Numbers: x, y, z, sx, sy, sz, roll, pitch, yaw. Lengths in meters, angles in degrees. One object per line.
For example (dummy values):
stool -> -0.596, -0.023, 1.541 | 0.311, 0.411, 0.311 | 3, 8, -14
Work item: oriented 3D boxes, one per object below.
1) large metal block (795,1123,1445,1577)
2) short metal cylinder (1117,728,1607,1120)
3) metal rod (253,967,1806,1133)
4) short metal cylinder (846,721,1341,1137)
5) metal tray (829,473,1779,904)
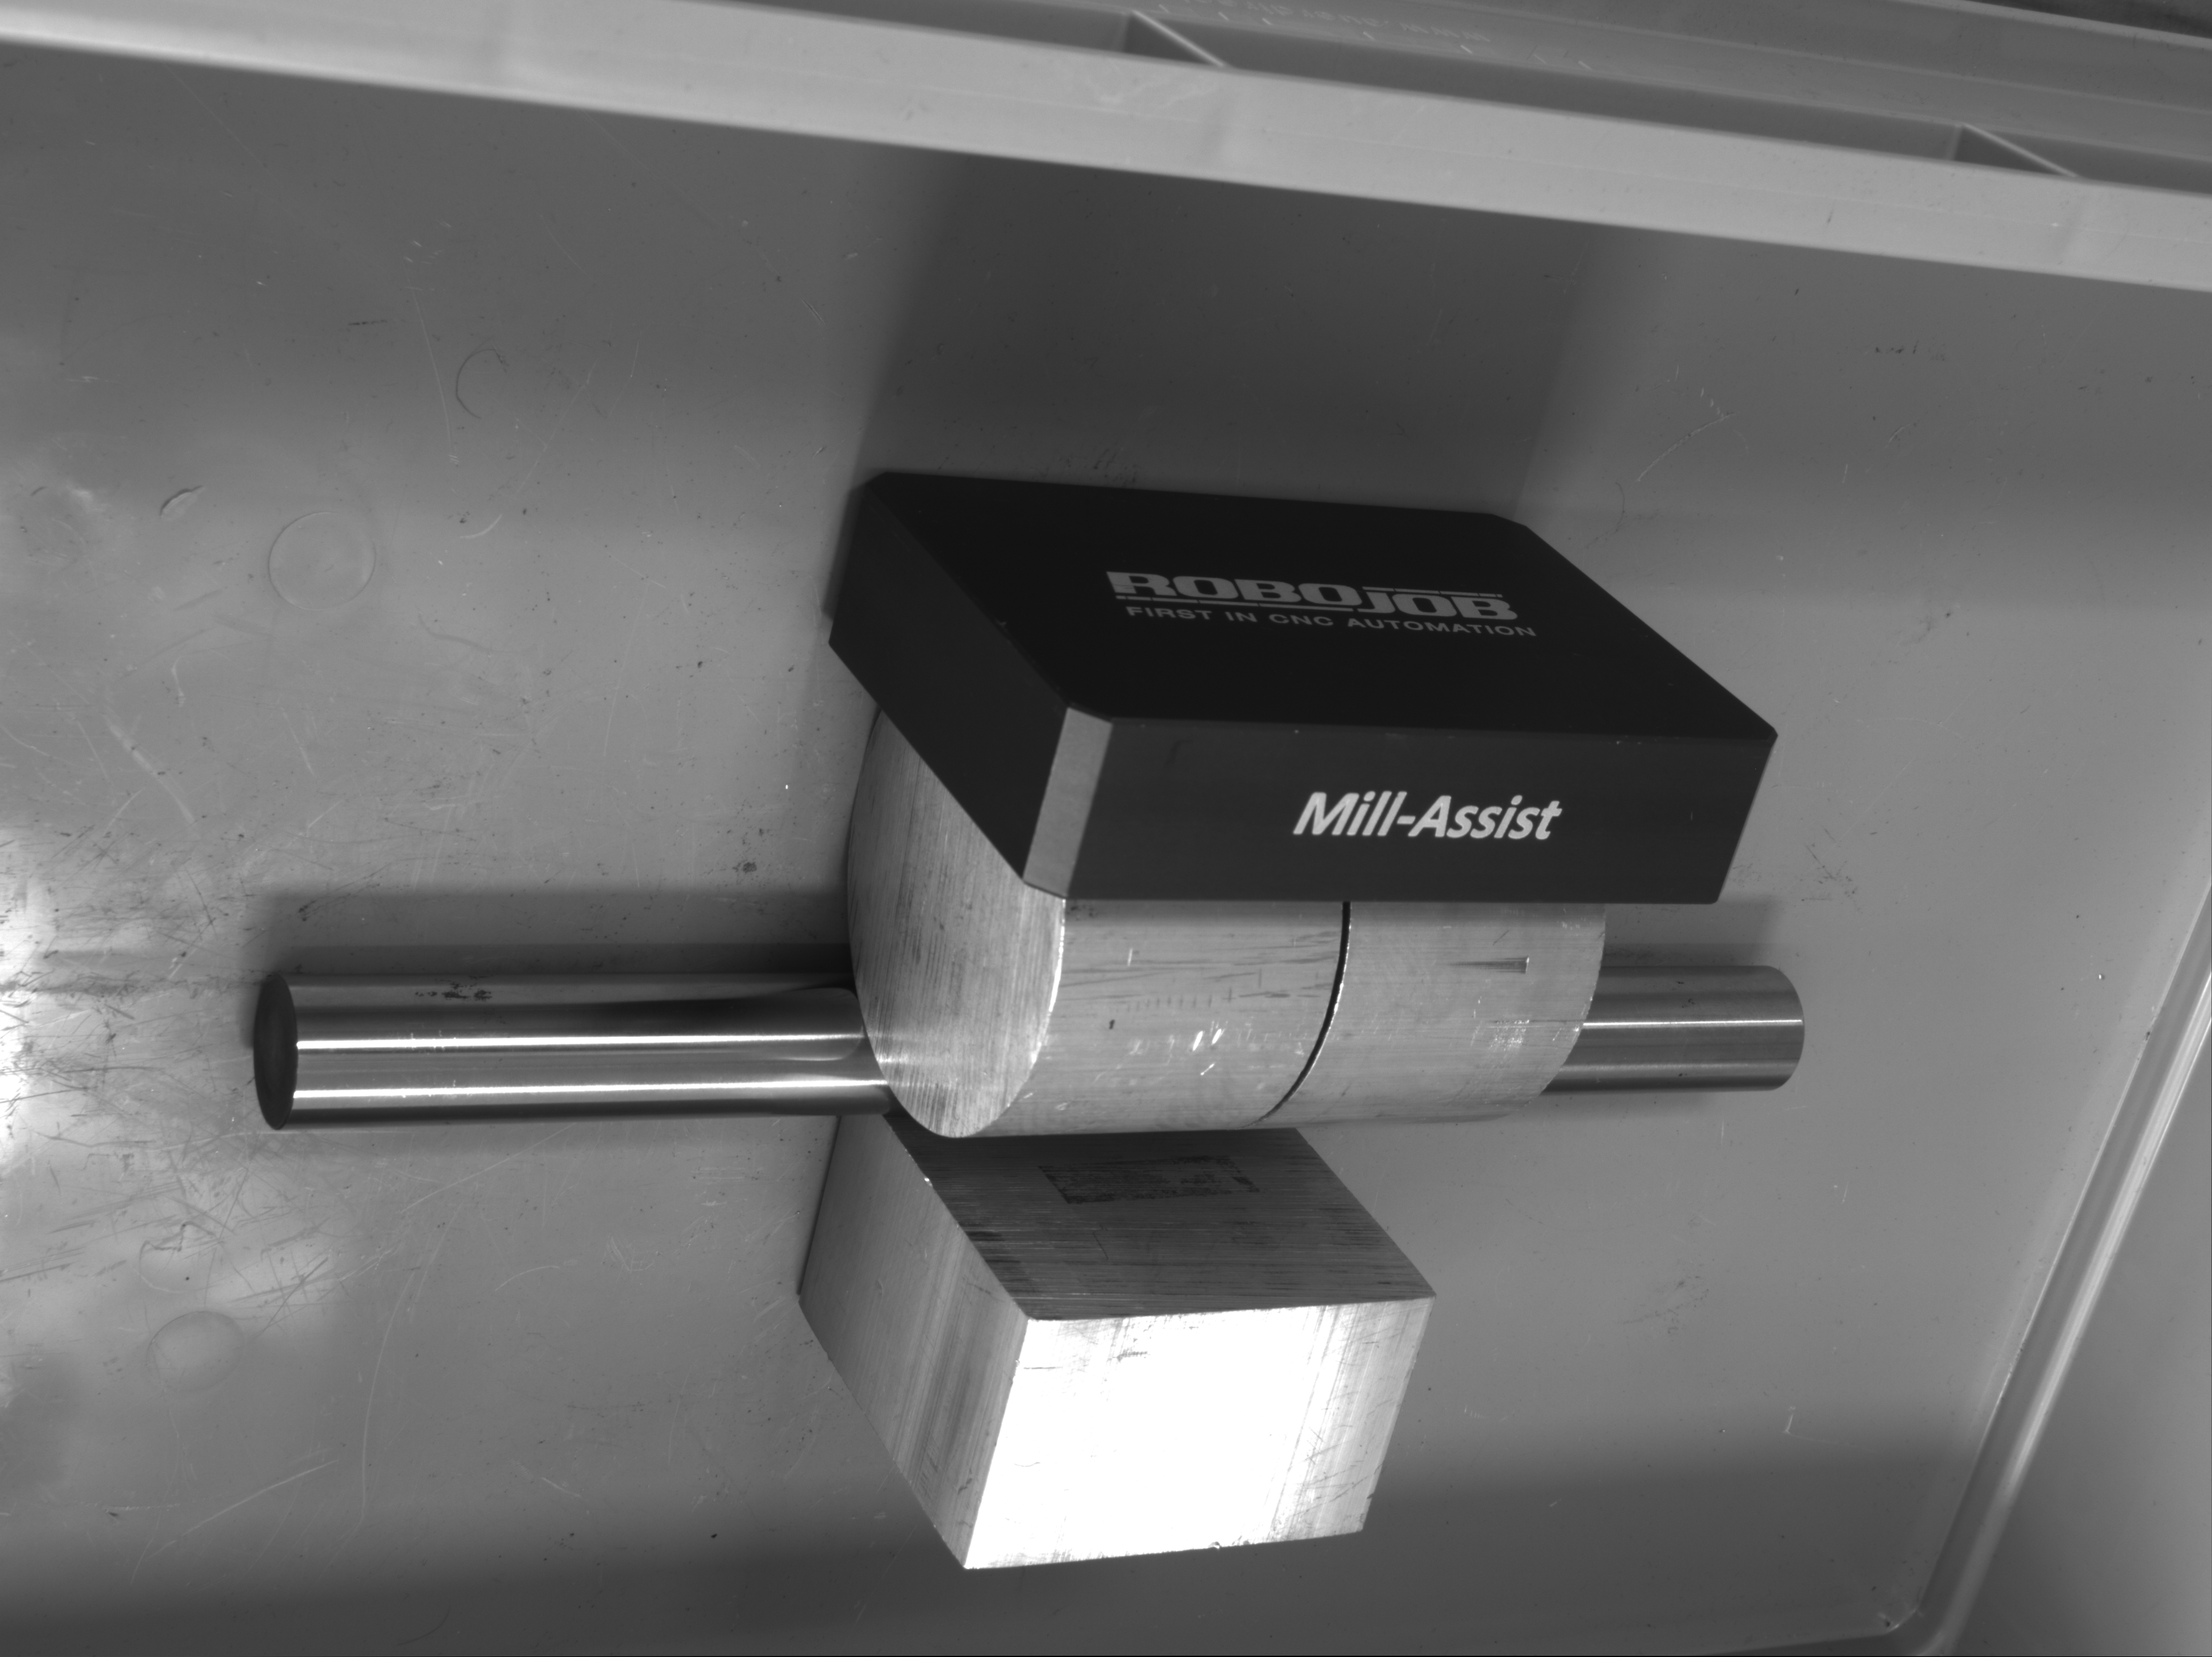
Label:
large metal block -> 0.001, 0.084, 0.651 | 0.080, 0.080, 0.050 | 1, 118, -28
short metal cylinder -> 0.042, 0.010, 0.631 | 0.050, 0.080, 0.080 | 2, 117, -29
metal rod -> -0.001, 0.038, 0.658 | 0.301, 0.025, 0.025 | 1, 118, -29
short metal cylinder -> -0.004, 0.010, 0.606 | 0.050, 0.080, 0.080 | 1, 118, -28
metal tray -> 0.032, -0.023, 0.598 | 0.130, 0.090, 0.030 | 1, 118, -29
